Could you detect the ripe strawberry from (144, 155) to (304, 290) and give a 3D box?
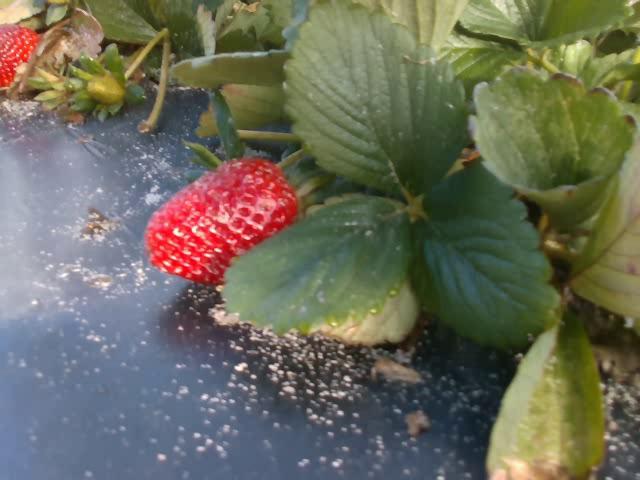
[{"bbox_3d":[-0.021,-0.004,0.114,0.036,0.021,0.029,-26,31,-29],"label":"ripe strawberry"}]
